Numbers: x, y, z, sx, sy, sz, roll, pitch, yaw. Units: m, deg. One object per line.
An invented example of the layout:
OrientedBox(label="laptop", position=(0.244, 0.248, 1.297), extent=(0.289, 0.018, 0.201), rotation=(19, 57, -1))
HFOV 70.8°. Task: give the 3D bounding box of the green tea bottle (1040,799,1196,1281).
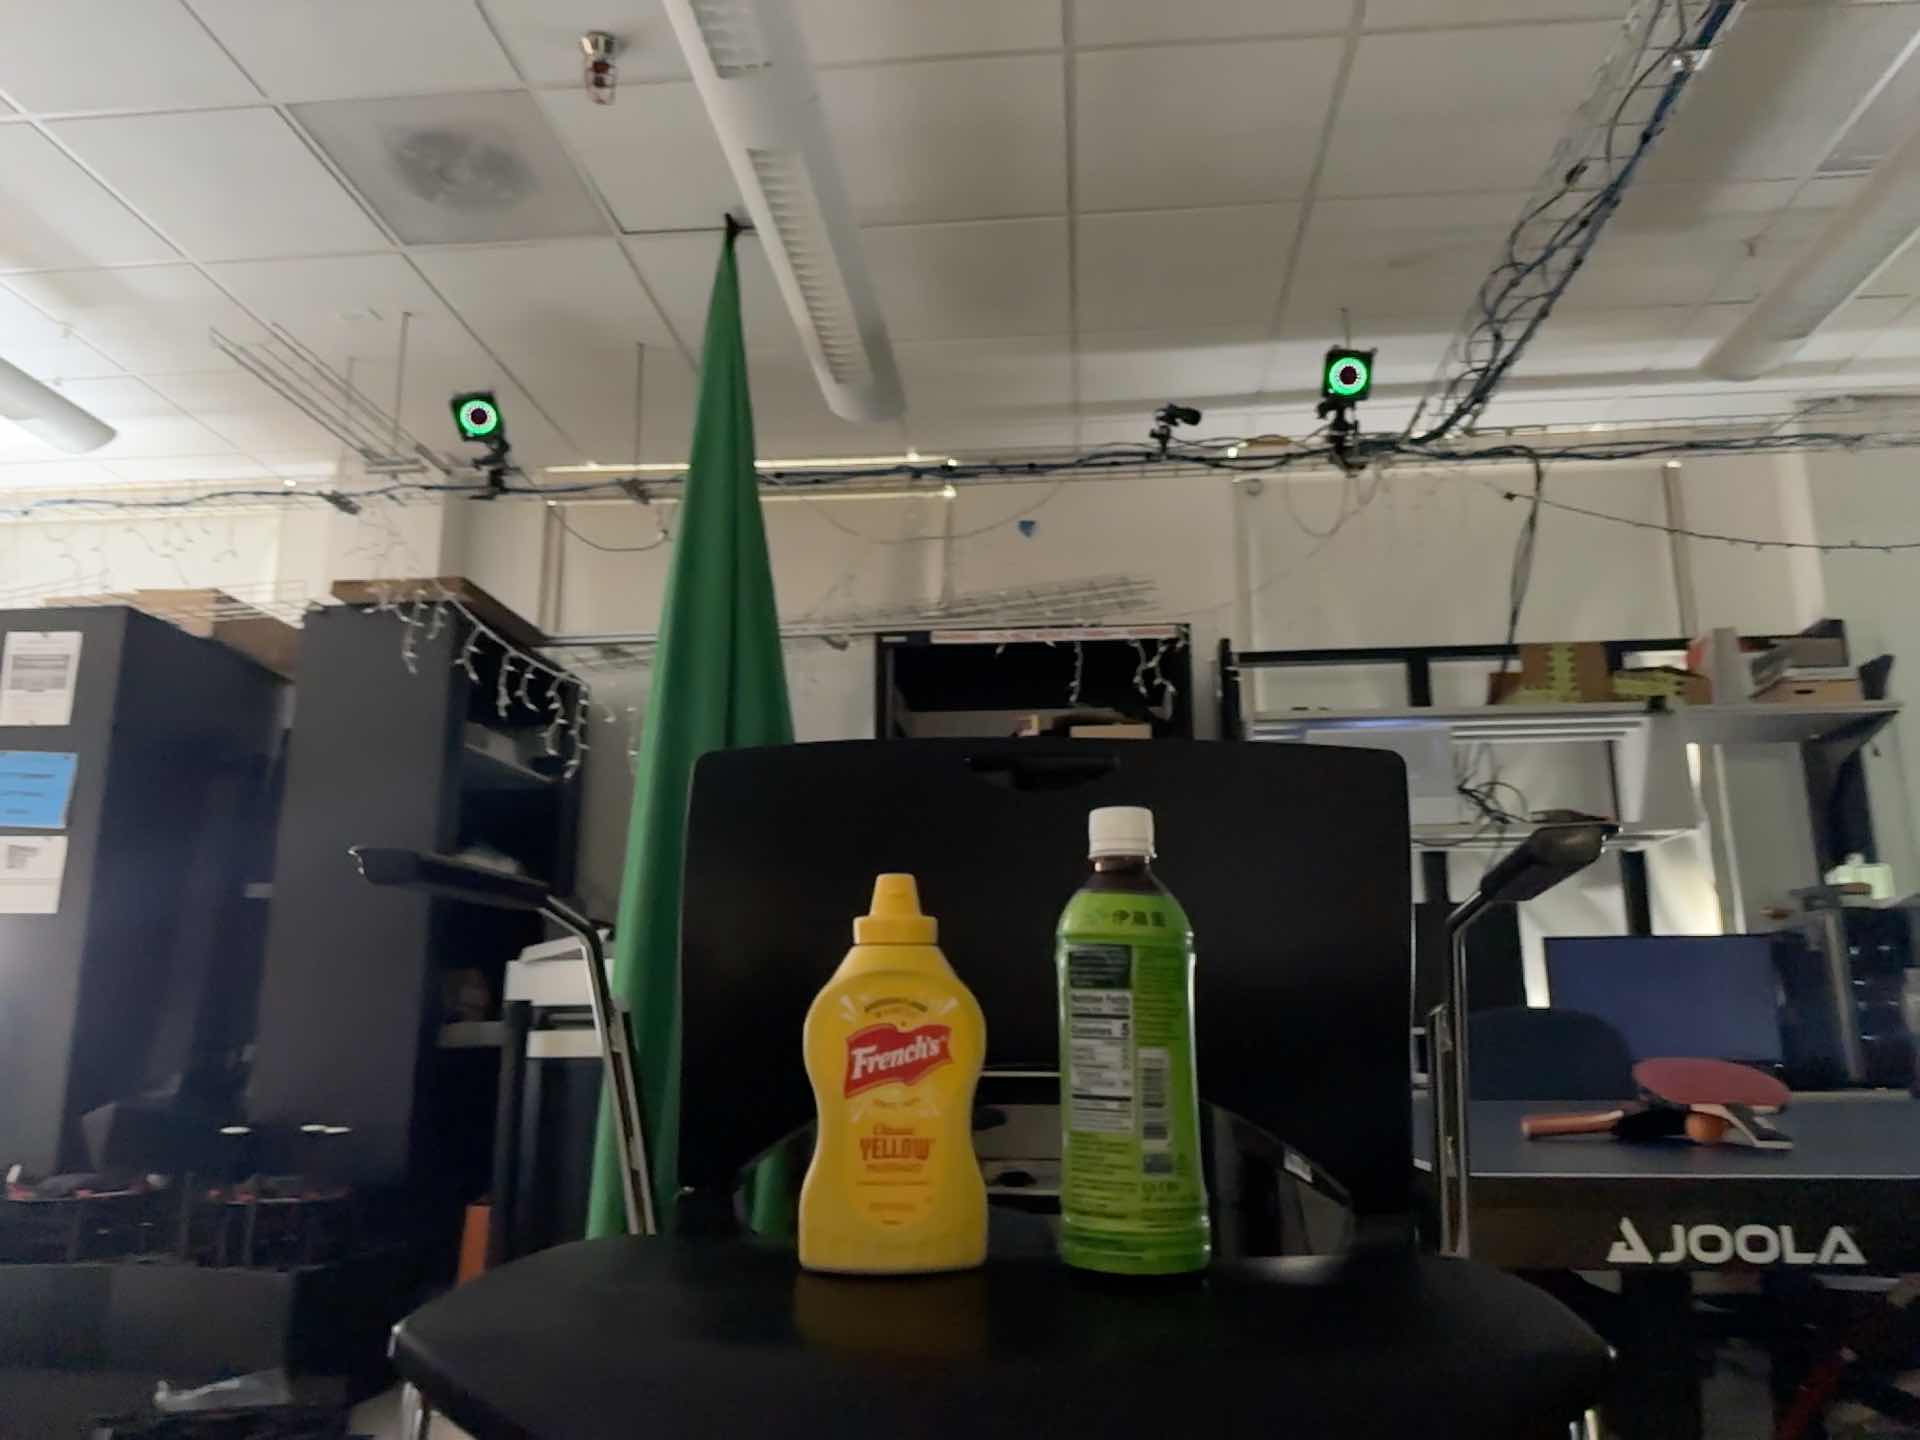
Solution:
OrientedBox(label="green tea bottle", position=(0.072, 0.143, 0.627), extent=(0.073, 0.212, 0.073), rotation=(1, -9, 0))

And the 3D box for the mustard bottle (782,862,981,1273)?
OrientedBox(label="mustard bottle", position=(-0.037, 0.159, 0.637), extent=(0.092, 0.184, 0.054), rotation=(0, -10, 1))
